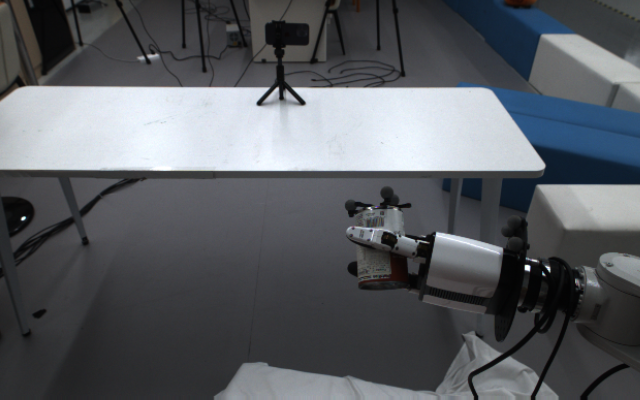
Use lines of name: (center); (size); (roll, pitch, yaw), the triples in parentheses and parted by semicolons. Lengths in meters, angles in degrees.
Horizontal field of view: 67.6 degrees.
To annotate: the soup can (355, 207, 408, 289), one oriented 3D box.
soup can: (0.085, 0.063, 0.644); (0.067, 0.067, 0.101); (-2, 71, -5)
